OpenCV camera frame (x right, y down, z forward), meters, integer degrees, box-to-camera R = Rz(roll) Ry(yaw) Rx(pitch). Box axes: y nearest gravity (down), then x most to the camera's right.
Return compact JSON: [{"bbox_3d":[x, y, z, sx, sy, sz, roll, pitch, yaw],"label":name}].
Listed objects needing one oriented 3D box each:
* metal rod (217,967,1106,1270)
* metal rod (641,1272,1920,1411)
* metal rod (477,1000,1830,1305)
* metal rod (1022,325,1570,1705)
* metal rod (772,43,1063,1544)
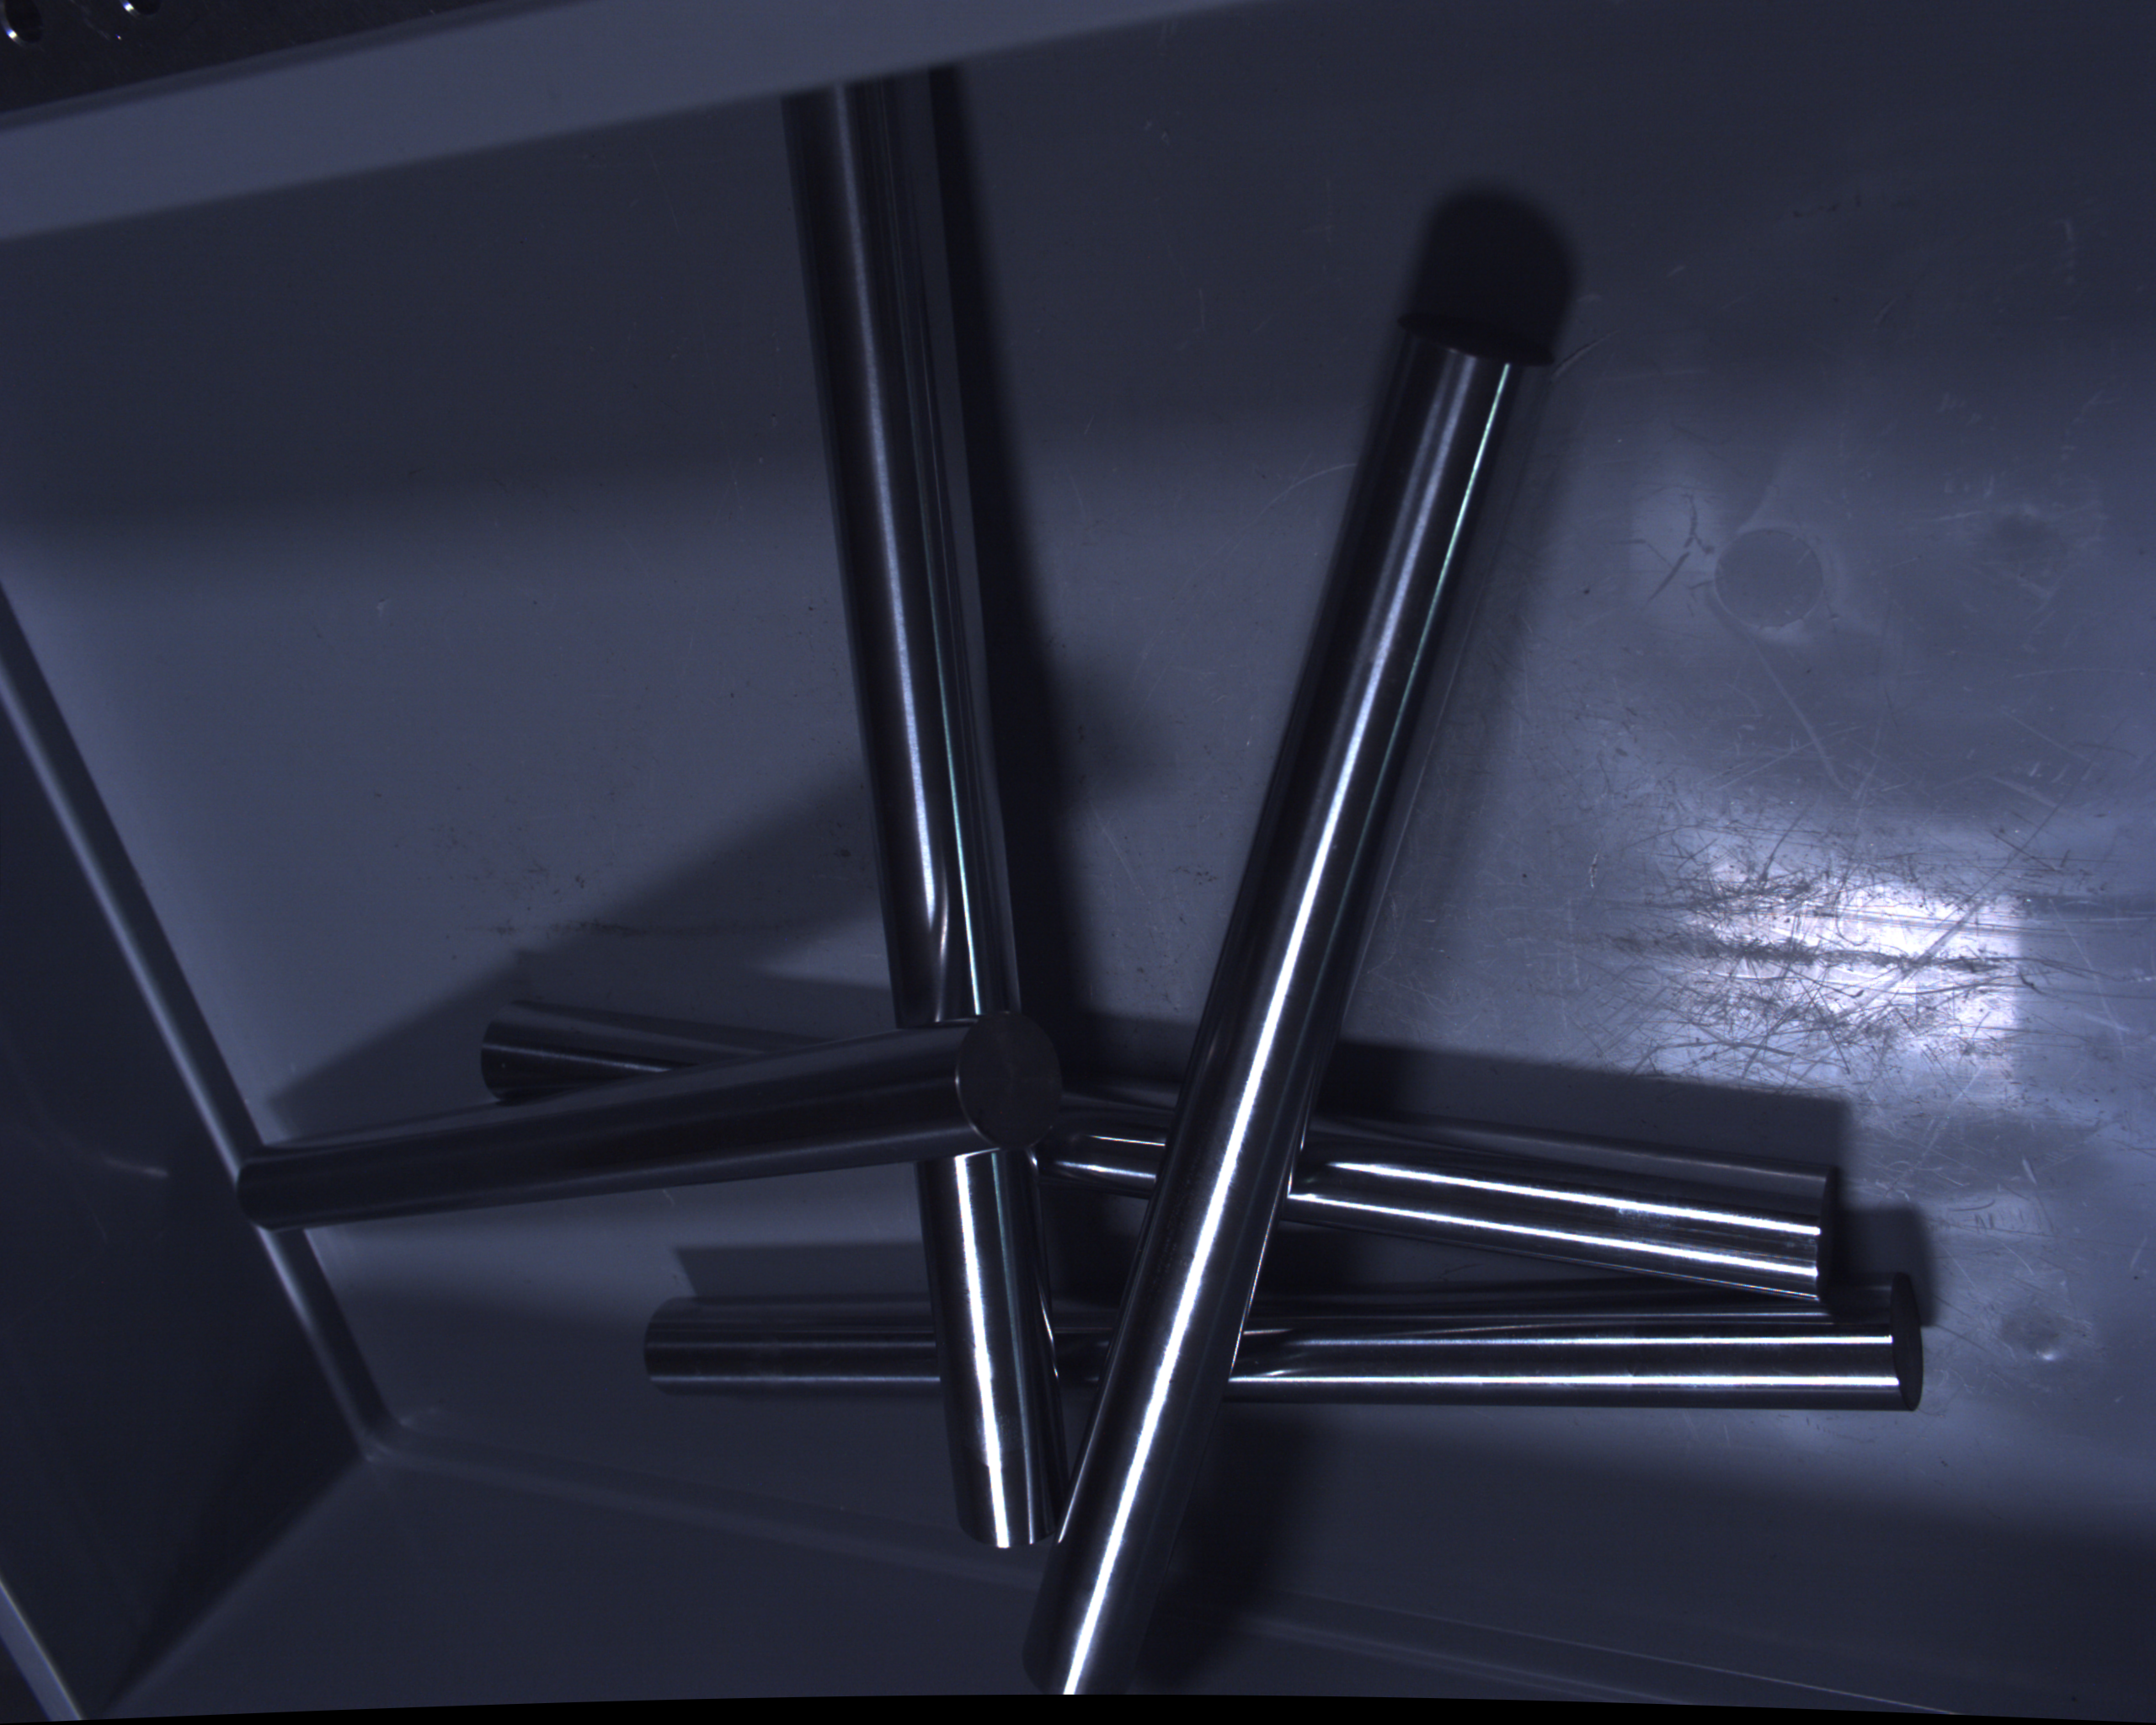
[{"bbox_3d":[-0.113,0.065,0.472,0.299,0.025,0.025,-17,110,40],"label":"metal rod"},{"bbox_3d":[0.024,0.106,0.458,0.300,0.025,0.025,-8,114,31],"label":"metal rod"},{"bbox_3d":[-0.001,0.056,0.441,0.301,0.025,0.025,5,121,25],"label":"metal rod"},{"bbox_3d":[0.032,0.048,0.393,0.025,0.025,0.298,22,119,14],"label":"metal rod"},{"bbox_3d":[-0.026,0.004,0.399,0.025,0.025,0.298,6,115,24],"label":"metal rod"}]
